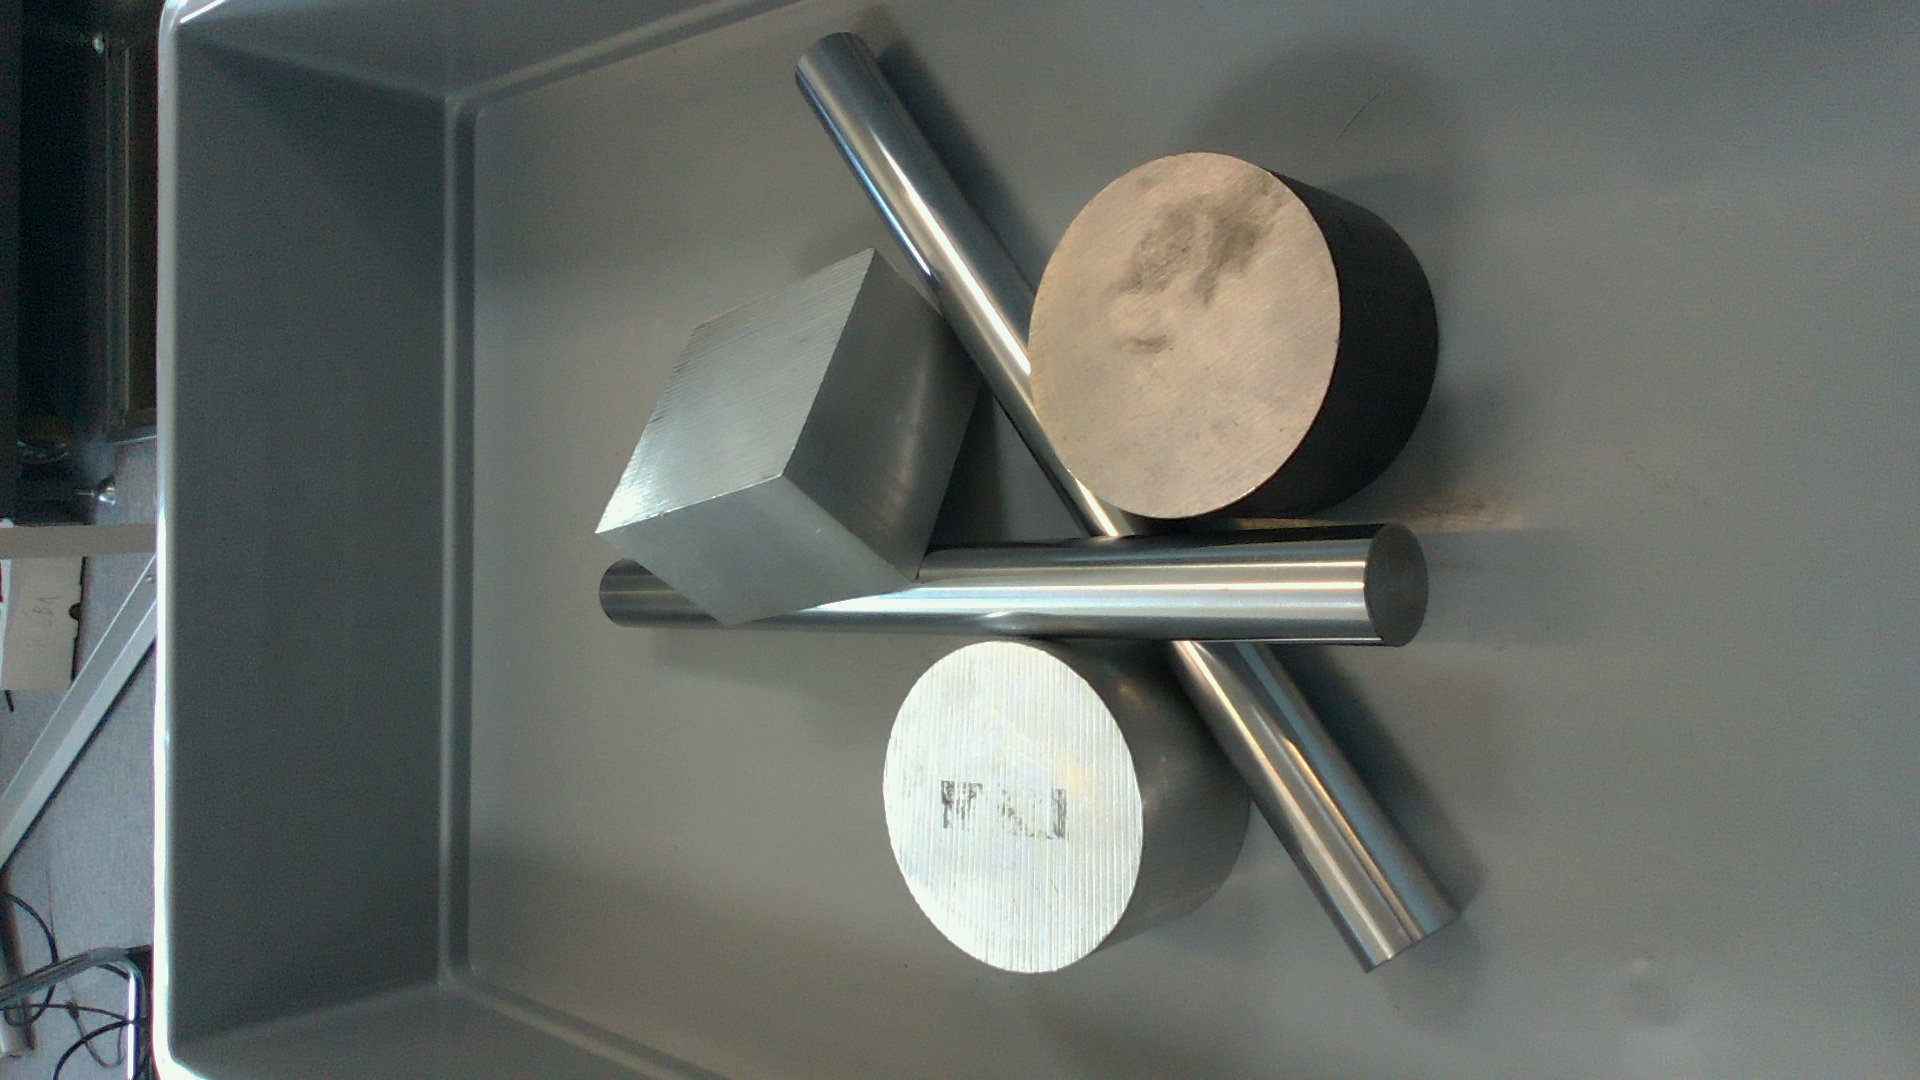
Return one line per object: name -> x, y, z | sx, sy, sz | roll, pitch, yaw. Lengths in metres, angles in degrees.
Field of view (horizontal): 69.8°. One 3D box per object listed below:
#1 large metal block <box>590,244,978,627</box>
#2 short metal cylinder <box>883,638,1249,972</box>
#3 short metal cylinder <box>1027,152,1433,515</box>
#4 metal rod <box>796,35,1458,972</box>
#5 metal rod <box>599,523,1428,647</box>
large metal block -> -0.048, -0.027, 0.393 | 0.080, 0.050, 0.080 | -13, 47, 40
short metal cylinder -> 0.027, 0.065, 0.355 | 0.080, 0.050, 0.080 | 0, 90, 40
short metal cylinder -> 0.063, -0.046, 0.325 | 0.080, 0.050, 0.080 | 0, 90, 40
metal rod -> 0.031, -0.028, 0.368 | 0.025, 0.025, 0.300 | -45, 63, 31
metal rod -> -0.015, 0.014, 0.384 | 0.299, 0.025, 0.025 | -3, 88, 46
